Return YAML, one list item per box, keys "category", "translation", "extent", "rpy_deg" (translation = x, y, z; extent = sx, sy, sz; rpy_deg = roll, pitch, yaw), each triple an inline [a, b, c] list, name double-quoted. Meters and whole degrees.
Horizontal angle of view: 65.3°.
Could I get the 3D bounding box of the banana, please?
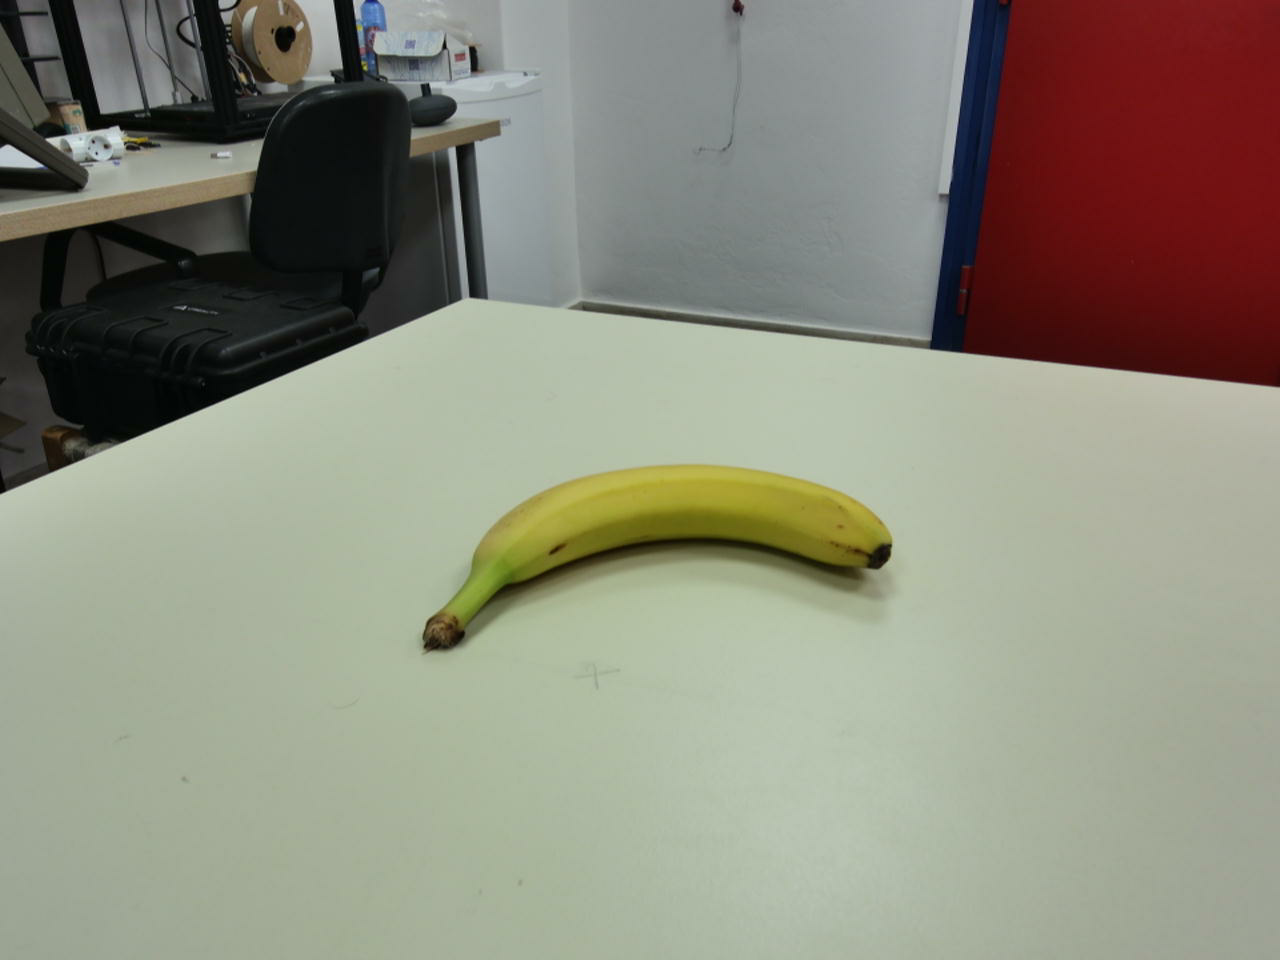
- category: "banana"
  translation: [0.004, 0.024, 0.439]
  extent: [0.196, 0.041, 0.094]
  rpy_deg: [-4, 24, -9]
